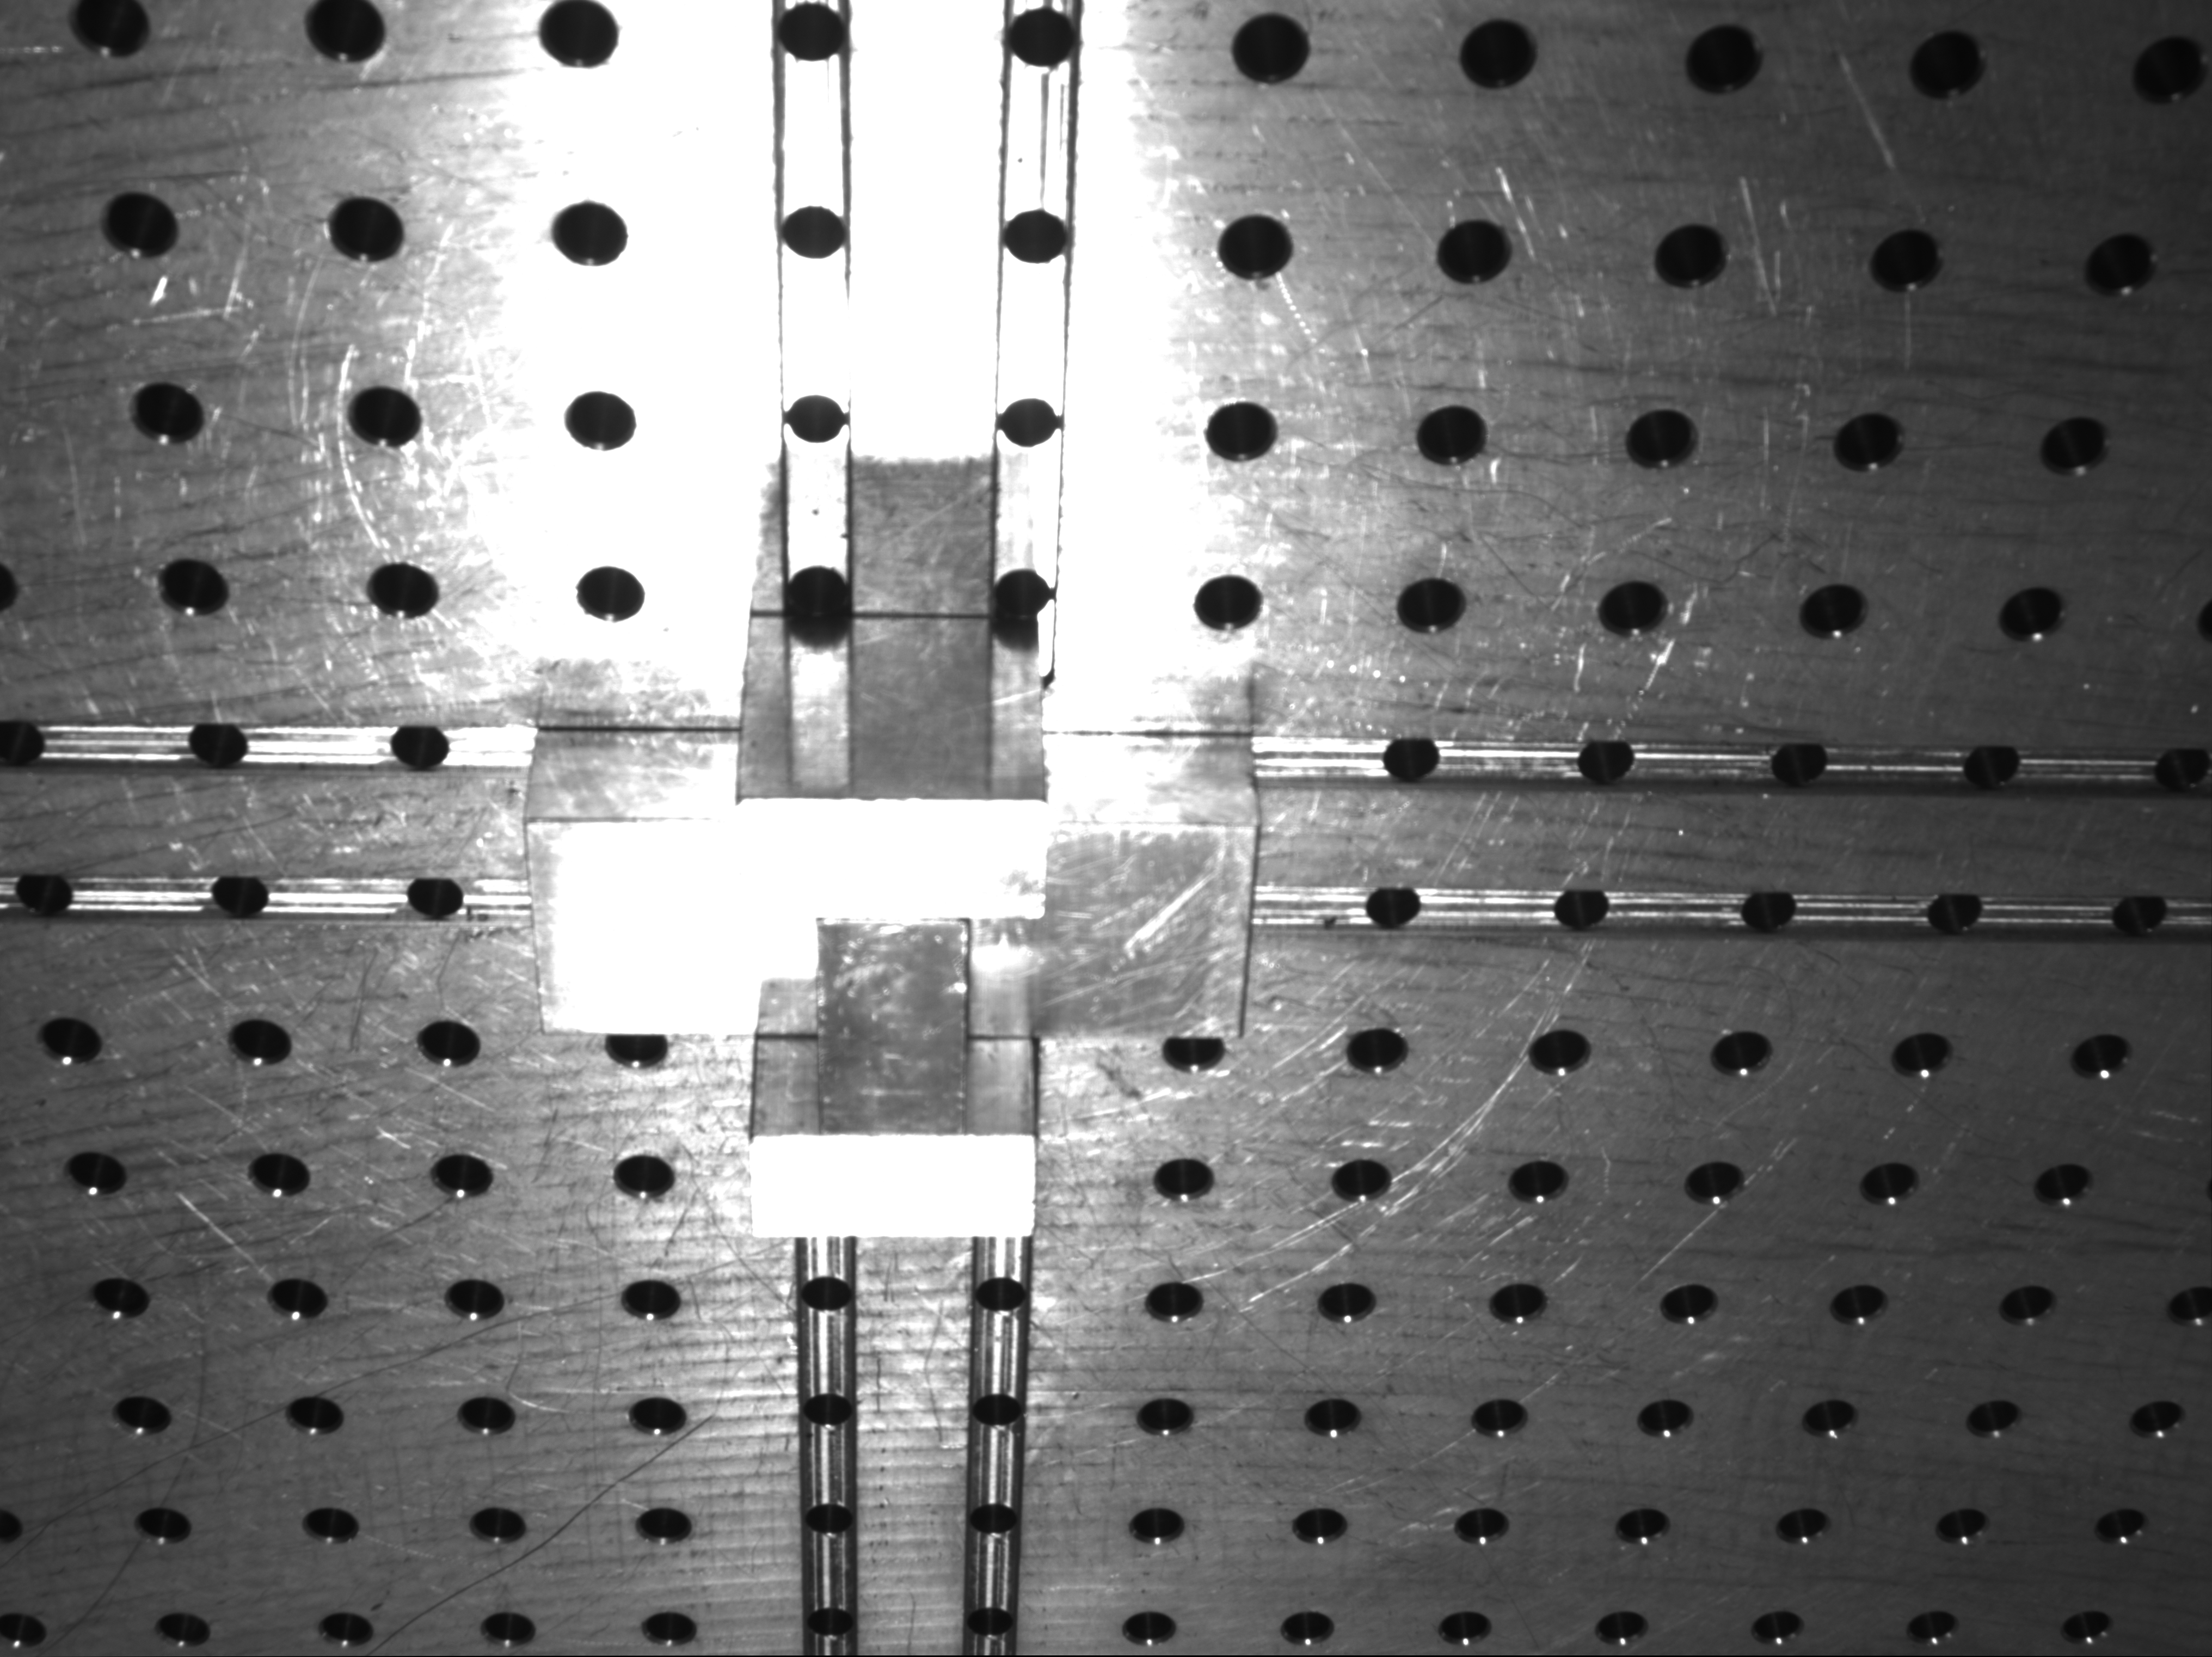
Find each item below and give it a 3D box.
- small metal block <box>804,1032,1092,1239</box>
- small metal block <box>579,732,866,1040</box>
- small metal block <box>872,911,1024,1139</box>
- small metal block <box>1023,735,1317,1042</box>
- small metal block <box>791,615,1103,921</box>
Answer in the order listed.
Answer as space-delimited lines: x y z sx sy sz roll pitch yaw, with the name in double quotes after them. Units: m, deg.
-0.028 0.047 0.663 0.050 0.050 0.025 1 130 -2 "small metal block"
-0.065 0.011 0.648 0.050 0.025 0.050 0 130 -2 "small metal block"
-0.027 0.019 0.639 0.025 0.050 0.050 1 130 -2 "small metal block"
0.010 0.011 0.650 0.050 0.025 0.050 1 130 -2 "small metal block"
-0.026 -0.011 0.615 0.050 0.050 0.025 1 130 -2 "small metal block"
